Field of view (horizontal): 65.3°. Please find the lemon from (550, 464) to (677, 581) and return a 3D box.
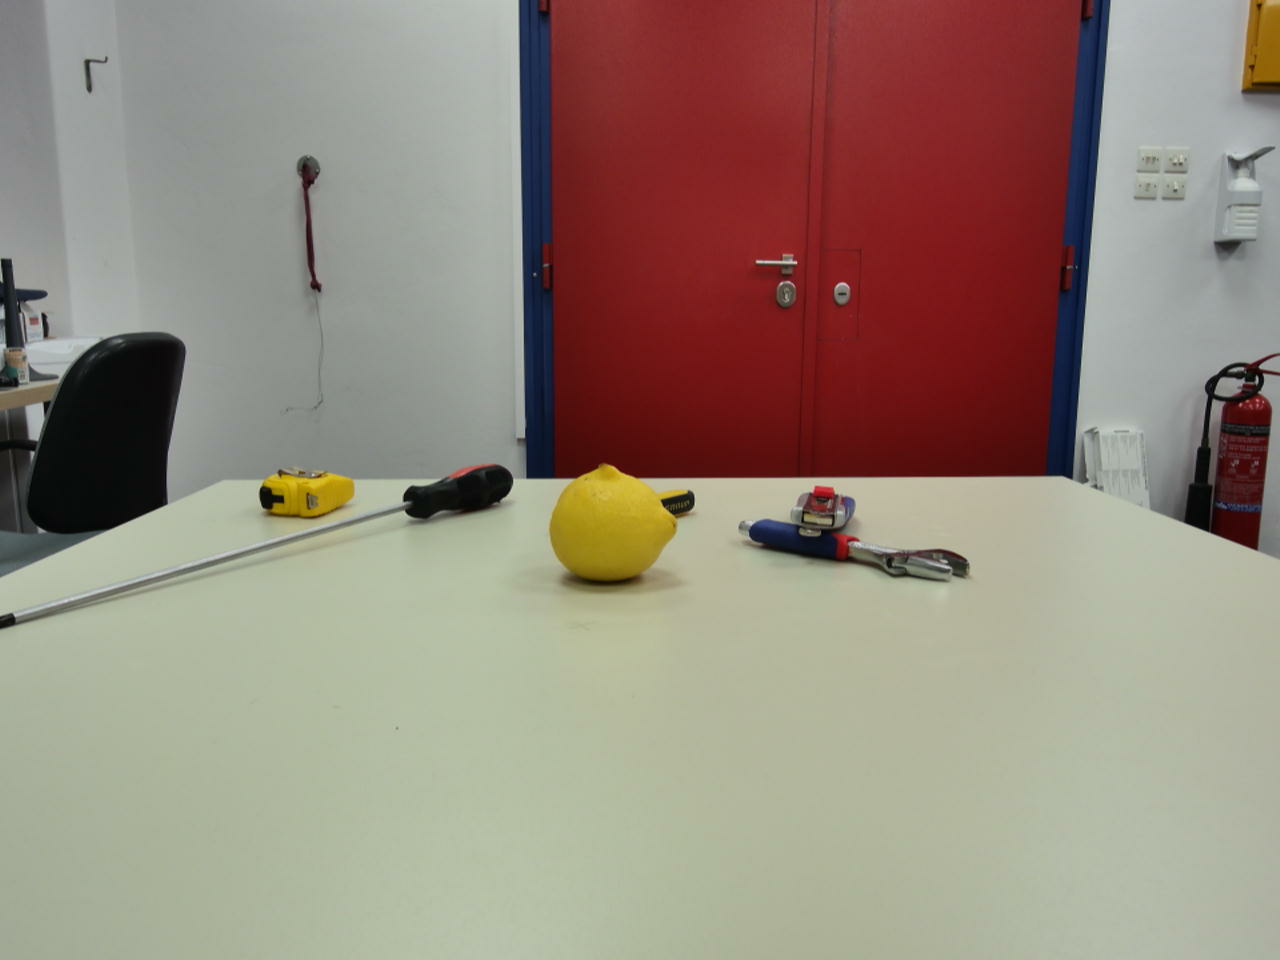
[{"bbox_3d":[-0.019,0.025,0.609,0.070,0.071,0.071,-6,9,-34],"label":"lemon"}]
